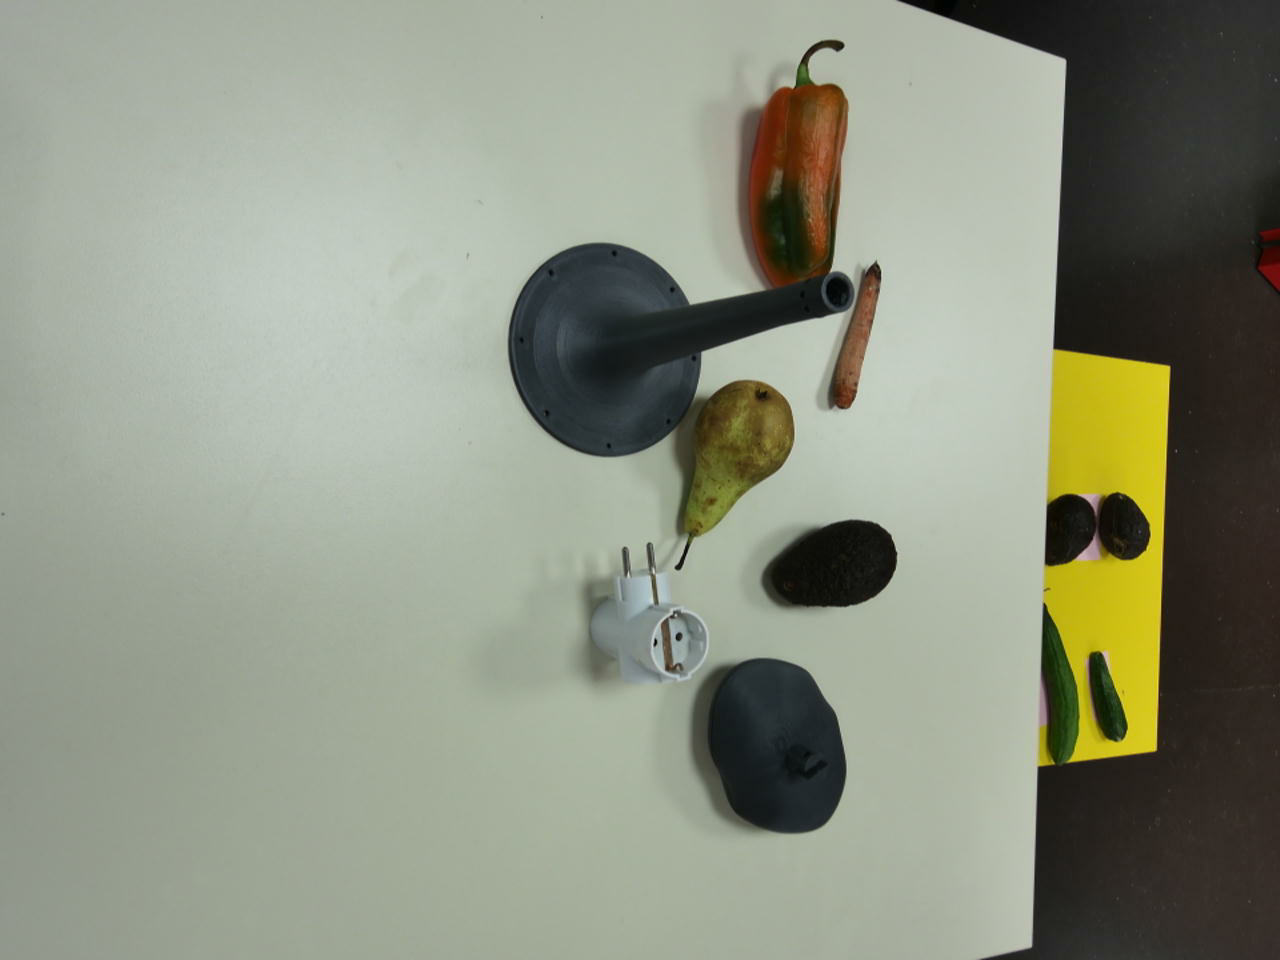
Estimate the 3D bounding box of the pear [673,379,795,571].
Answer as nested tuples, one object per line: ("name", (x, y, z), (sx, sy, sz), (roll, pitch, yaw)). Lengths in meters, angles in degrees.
("pear", (0.069, 0.000, 0.714), (0.071, 0.075, 0.144), (12, 85, -28))
